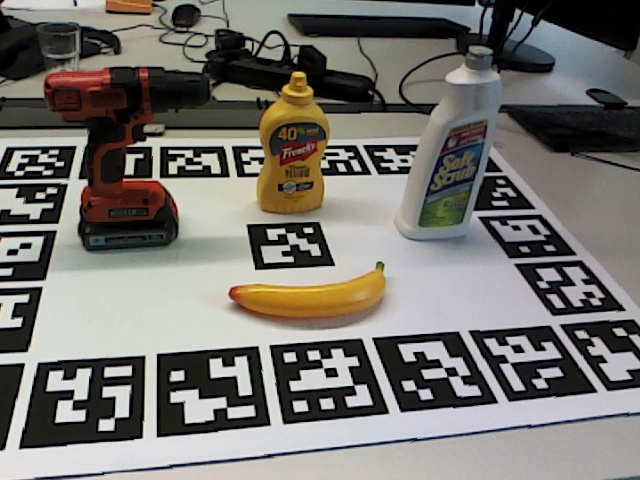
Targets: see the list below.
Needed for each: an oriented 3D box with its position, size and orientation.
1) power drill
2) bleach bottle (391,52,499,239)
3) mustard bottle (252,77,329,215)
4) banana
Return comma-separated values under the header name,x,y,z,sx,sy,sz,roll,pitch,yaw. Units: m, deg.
name,x,y,z,sx,sy,sz,roll,pitch,yaw
power drill,-0.209,-0.117,0.742,0.184,0.186,0.058,-8,39,-14
bleach bottle,0.165,-0.119,0.807,0.102,0.250,0.068,3,36,-6
mustard bottle,-0.037,-0.126,0.836,0.096,0.191,0.059,-6,38,-20
banana,-0.005,0.054,0.707,0.197,0.039,0.074,-7,40,-14
